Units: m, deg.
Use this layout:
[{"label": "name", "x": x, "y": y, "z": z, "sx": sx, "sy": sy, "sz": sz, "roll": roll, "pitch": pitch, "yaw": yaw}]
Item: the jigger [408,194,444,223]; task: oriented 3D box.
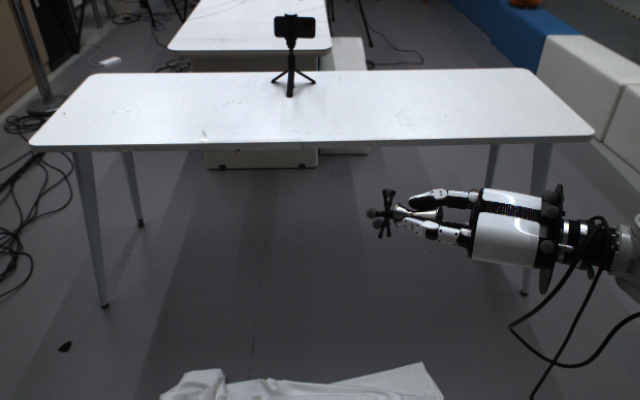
[{"label": "jigger", "x": 0.160, "y": 0.020, "z": 0.758, "sx": 0.071, "sy": 0.043, "sz": 0.043, "roll": 5, "pitch": 33, "yaw": 27}]
